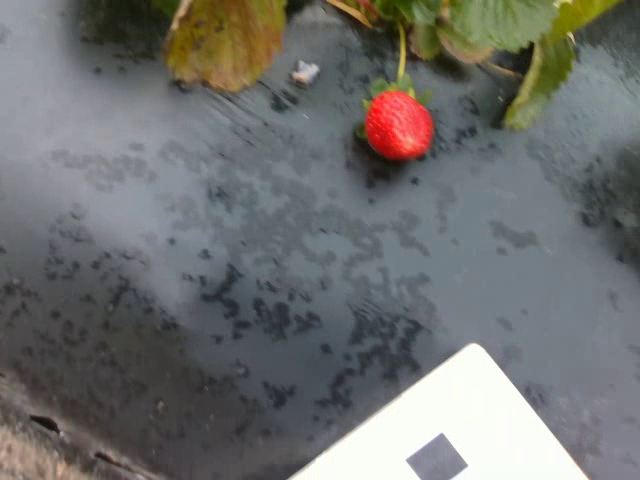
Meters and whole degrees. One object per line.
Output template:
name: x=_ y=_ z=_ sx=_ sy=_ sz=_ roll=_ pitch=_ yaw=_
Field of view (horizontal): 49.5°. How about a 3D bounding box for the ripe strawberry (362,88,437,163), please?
ripe strawberry: x=0.046 y=-0.064 z=0.405 sx=0.045 sy=0.048 sz=0.053 roll=1 pitch=39 yaw=7
